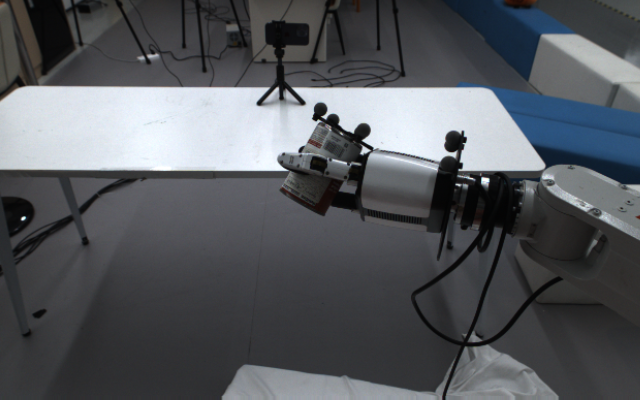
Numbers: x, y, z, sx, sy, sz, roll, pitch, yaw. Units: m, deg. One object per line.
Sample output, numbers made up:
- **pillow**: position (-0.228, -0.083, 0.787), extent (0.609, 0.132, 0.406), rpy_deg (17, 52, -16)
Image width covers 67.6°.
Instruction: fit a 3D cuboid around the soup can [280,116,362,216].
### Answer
- **soup can**: position (0.002, -0.039, 0.623), extent (0.067, 0.101, 0.067), rpy_deg (30, 2, -1)
